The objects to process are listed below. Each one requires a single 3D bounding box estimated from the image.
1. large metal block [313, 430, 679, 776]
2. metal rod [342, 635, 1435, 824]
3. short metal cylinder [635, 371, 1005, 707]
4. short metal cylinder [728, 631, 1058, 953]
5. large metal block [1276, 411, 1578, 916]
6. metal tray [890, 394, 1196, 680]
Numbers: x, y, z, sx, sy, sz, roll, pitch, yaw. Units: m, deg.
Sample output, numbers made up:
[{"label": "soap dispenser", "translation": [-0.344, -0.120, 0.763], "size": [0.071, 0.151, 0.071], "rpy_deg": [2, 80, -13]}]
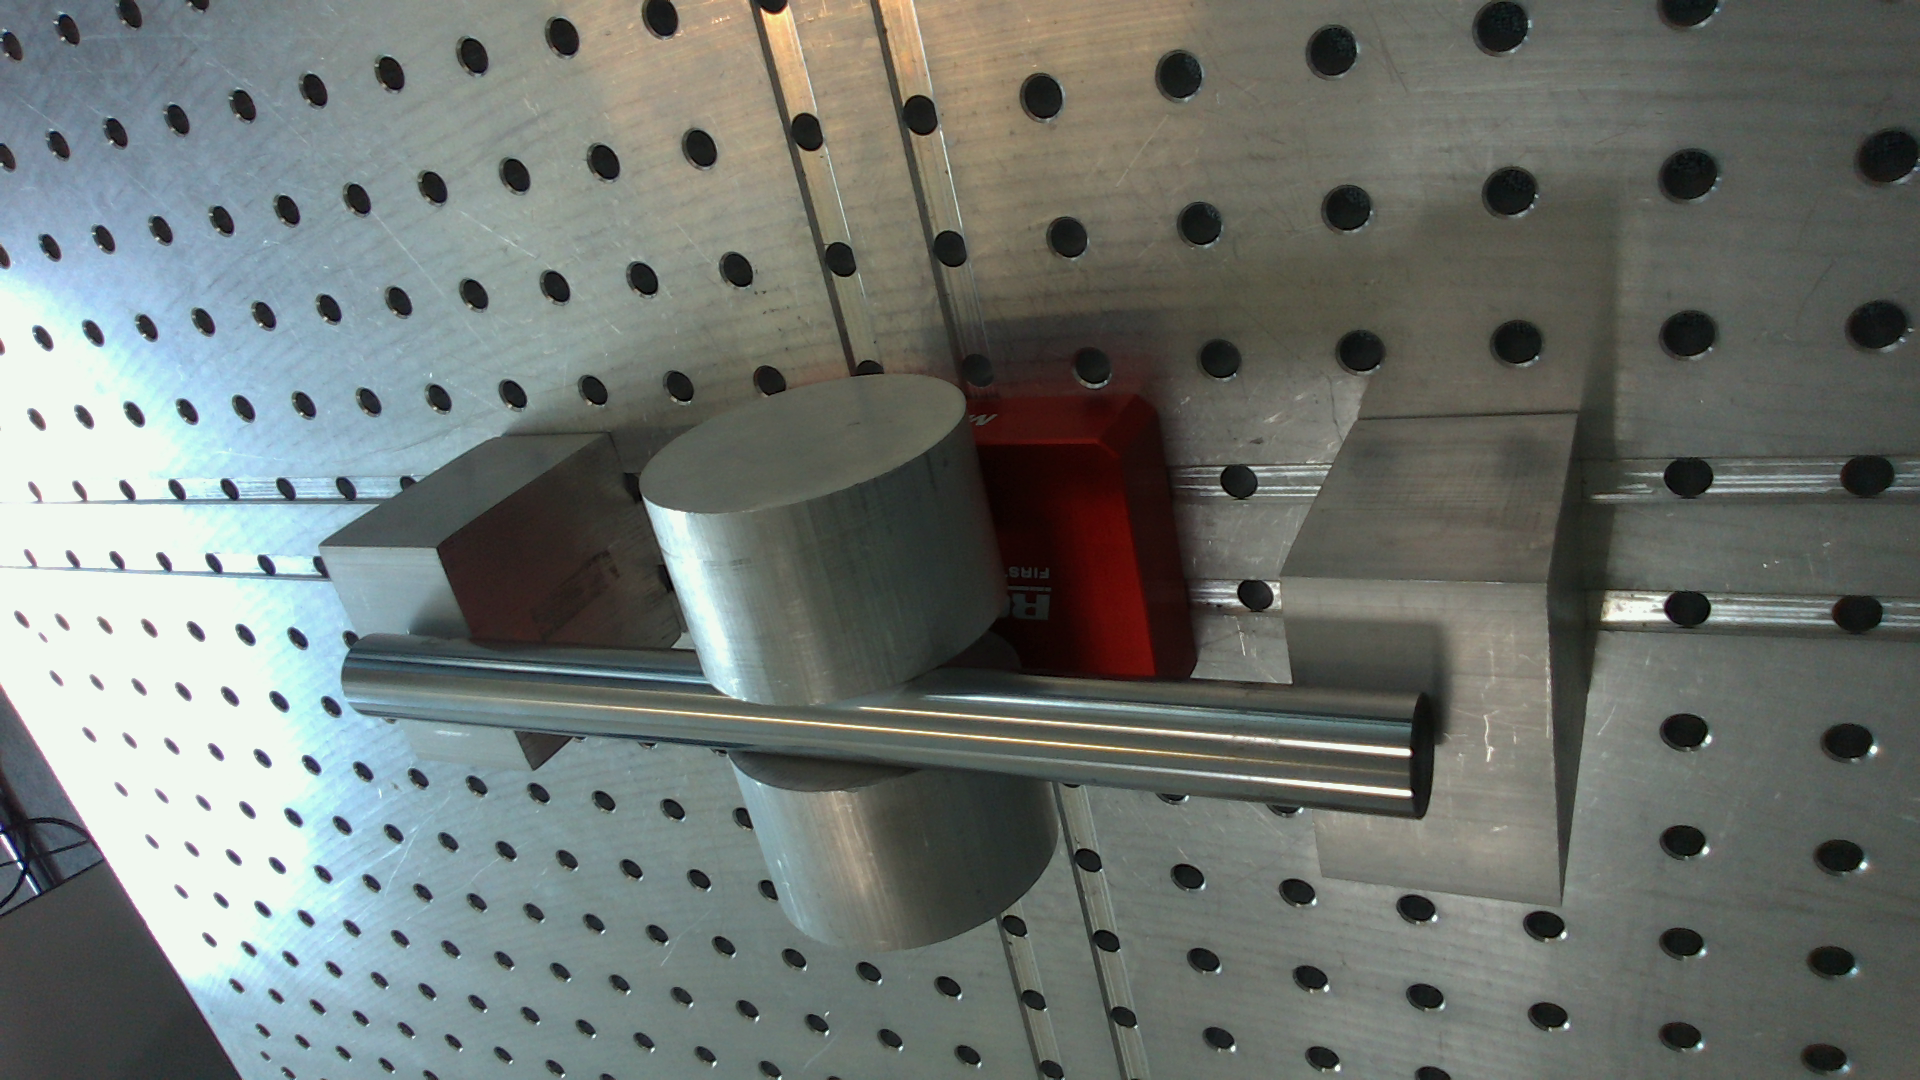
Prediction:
[{"label": "large metal block", "translation": [-0.146, 0.018, 0.448], "size": [0.050, 0.080, 0.080], "rpy_deg": [1, 119, 28]}, {"label": "metal rod", "translation": [-0.041, 0.042, 0.340], "size": [0.299, 0.025, 0.025], "rpy_deg": [1, 119, 28]}, {"label": "short metal cylinder", "translation": [-0.033, -0.003, 0.337], "size": [0.080, 0.080, 0.050], "rpy_deg": [1, 119, 28]}, {"label": "short metal cylinder", "translation": [-0.018, 0.064, 0.370], "size": [0.080, 0.080, 0.050], "rpy_deg": [1, 119, 28]}, {"label": "large metal block", "translation": [0.111, 0.024, 0.314], "size": [0.050, 0.080, 0.080], "rpy_deg": [1, 119, 28]}, {"label": "metal tray", "translation": [-0.003, 0.006, 0.398], "size": [0.130, 0.030, 0.090], "rpy_deg": [1, 119, 28]}]
